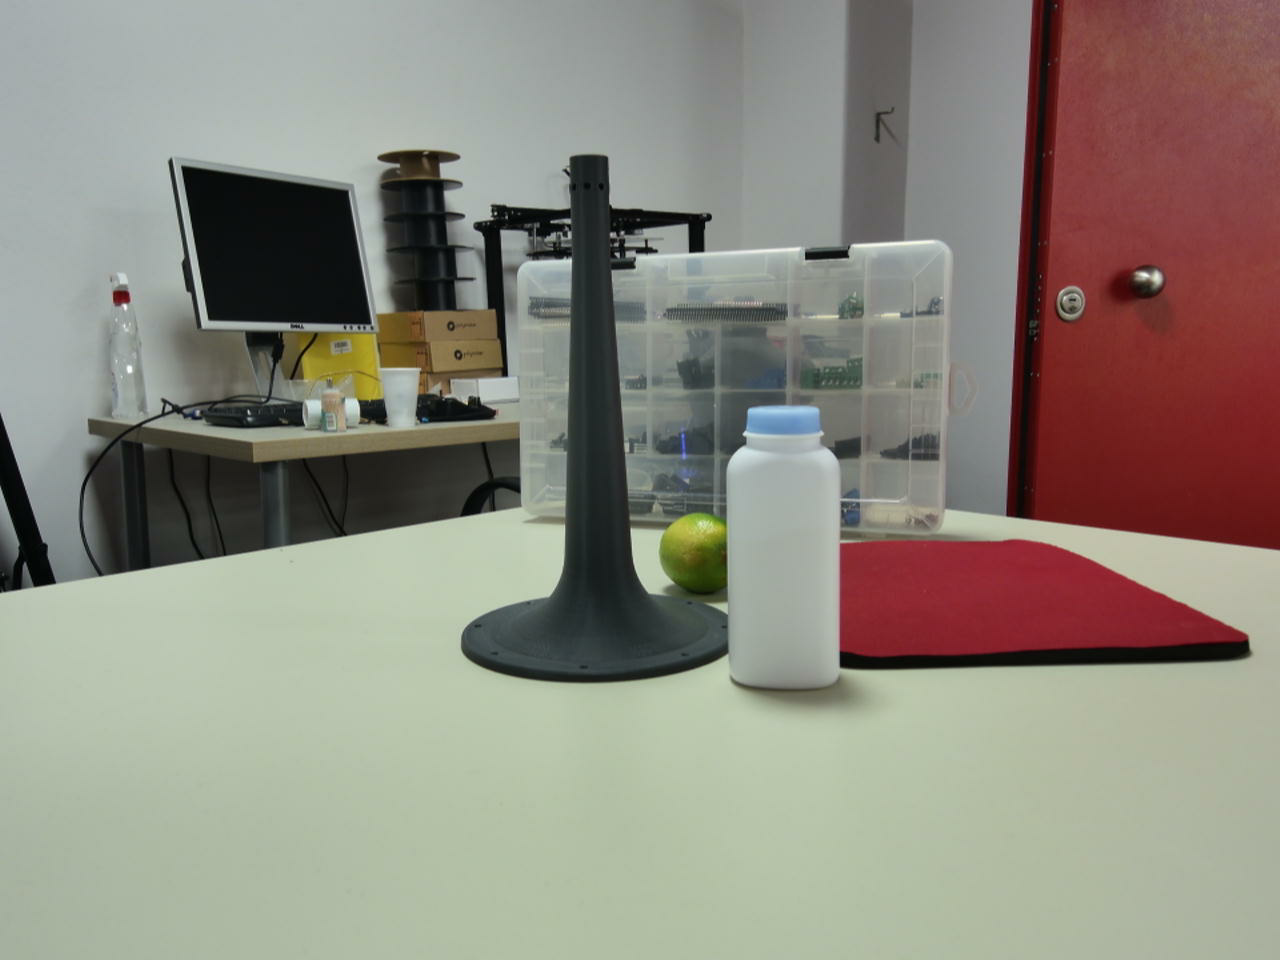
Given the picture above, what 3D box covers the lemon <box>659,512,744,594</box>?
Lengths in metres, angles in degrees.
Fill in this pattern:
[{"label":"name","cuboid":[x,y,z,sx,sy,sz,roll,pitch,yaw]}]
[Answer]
[{"label":"lemon","cuboid":[0.039,0.046,0.644,0.054,0.050,0.055,1,7,6]}]
